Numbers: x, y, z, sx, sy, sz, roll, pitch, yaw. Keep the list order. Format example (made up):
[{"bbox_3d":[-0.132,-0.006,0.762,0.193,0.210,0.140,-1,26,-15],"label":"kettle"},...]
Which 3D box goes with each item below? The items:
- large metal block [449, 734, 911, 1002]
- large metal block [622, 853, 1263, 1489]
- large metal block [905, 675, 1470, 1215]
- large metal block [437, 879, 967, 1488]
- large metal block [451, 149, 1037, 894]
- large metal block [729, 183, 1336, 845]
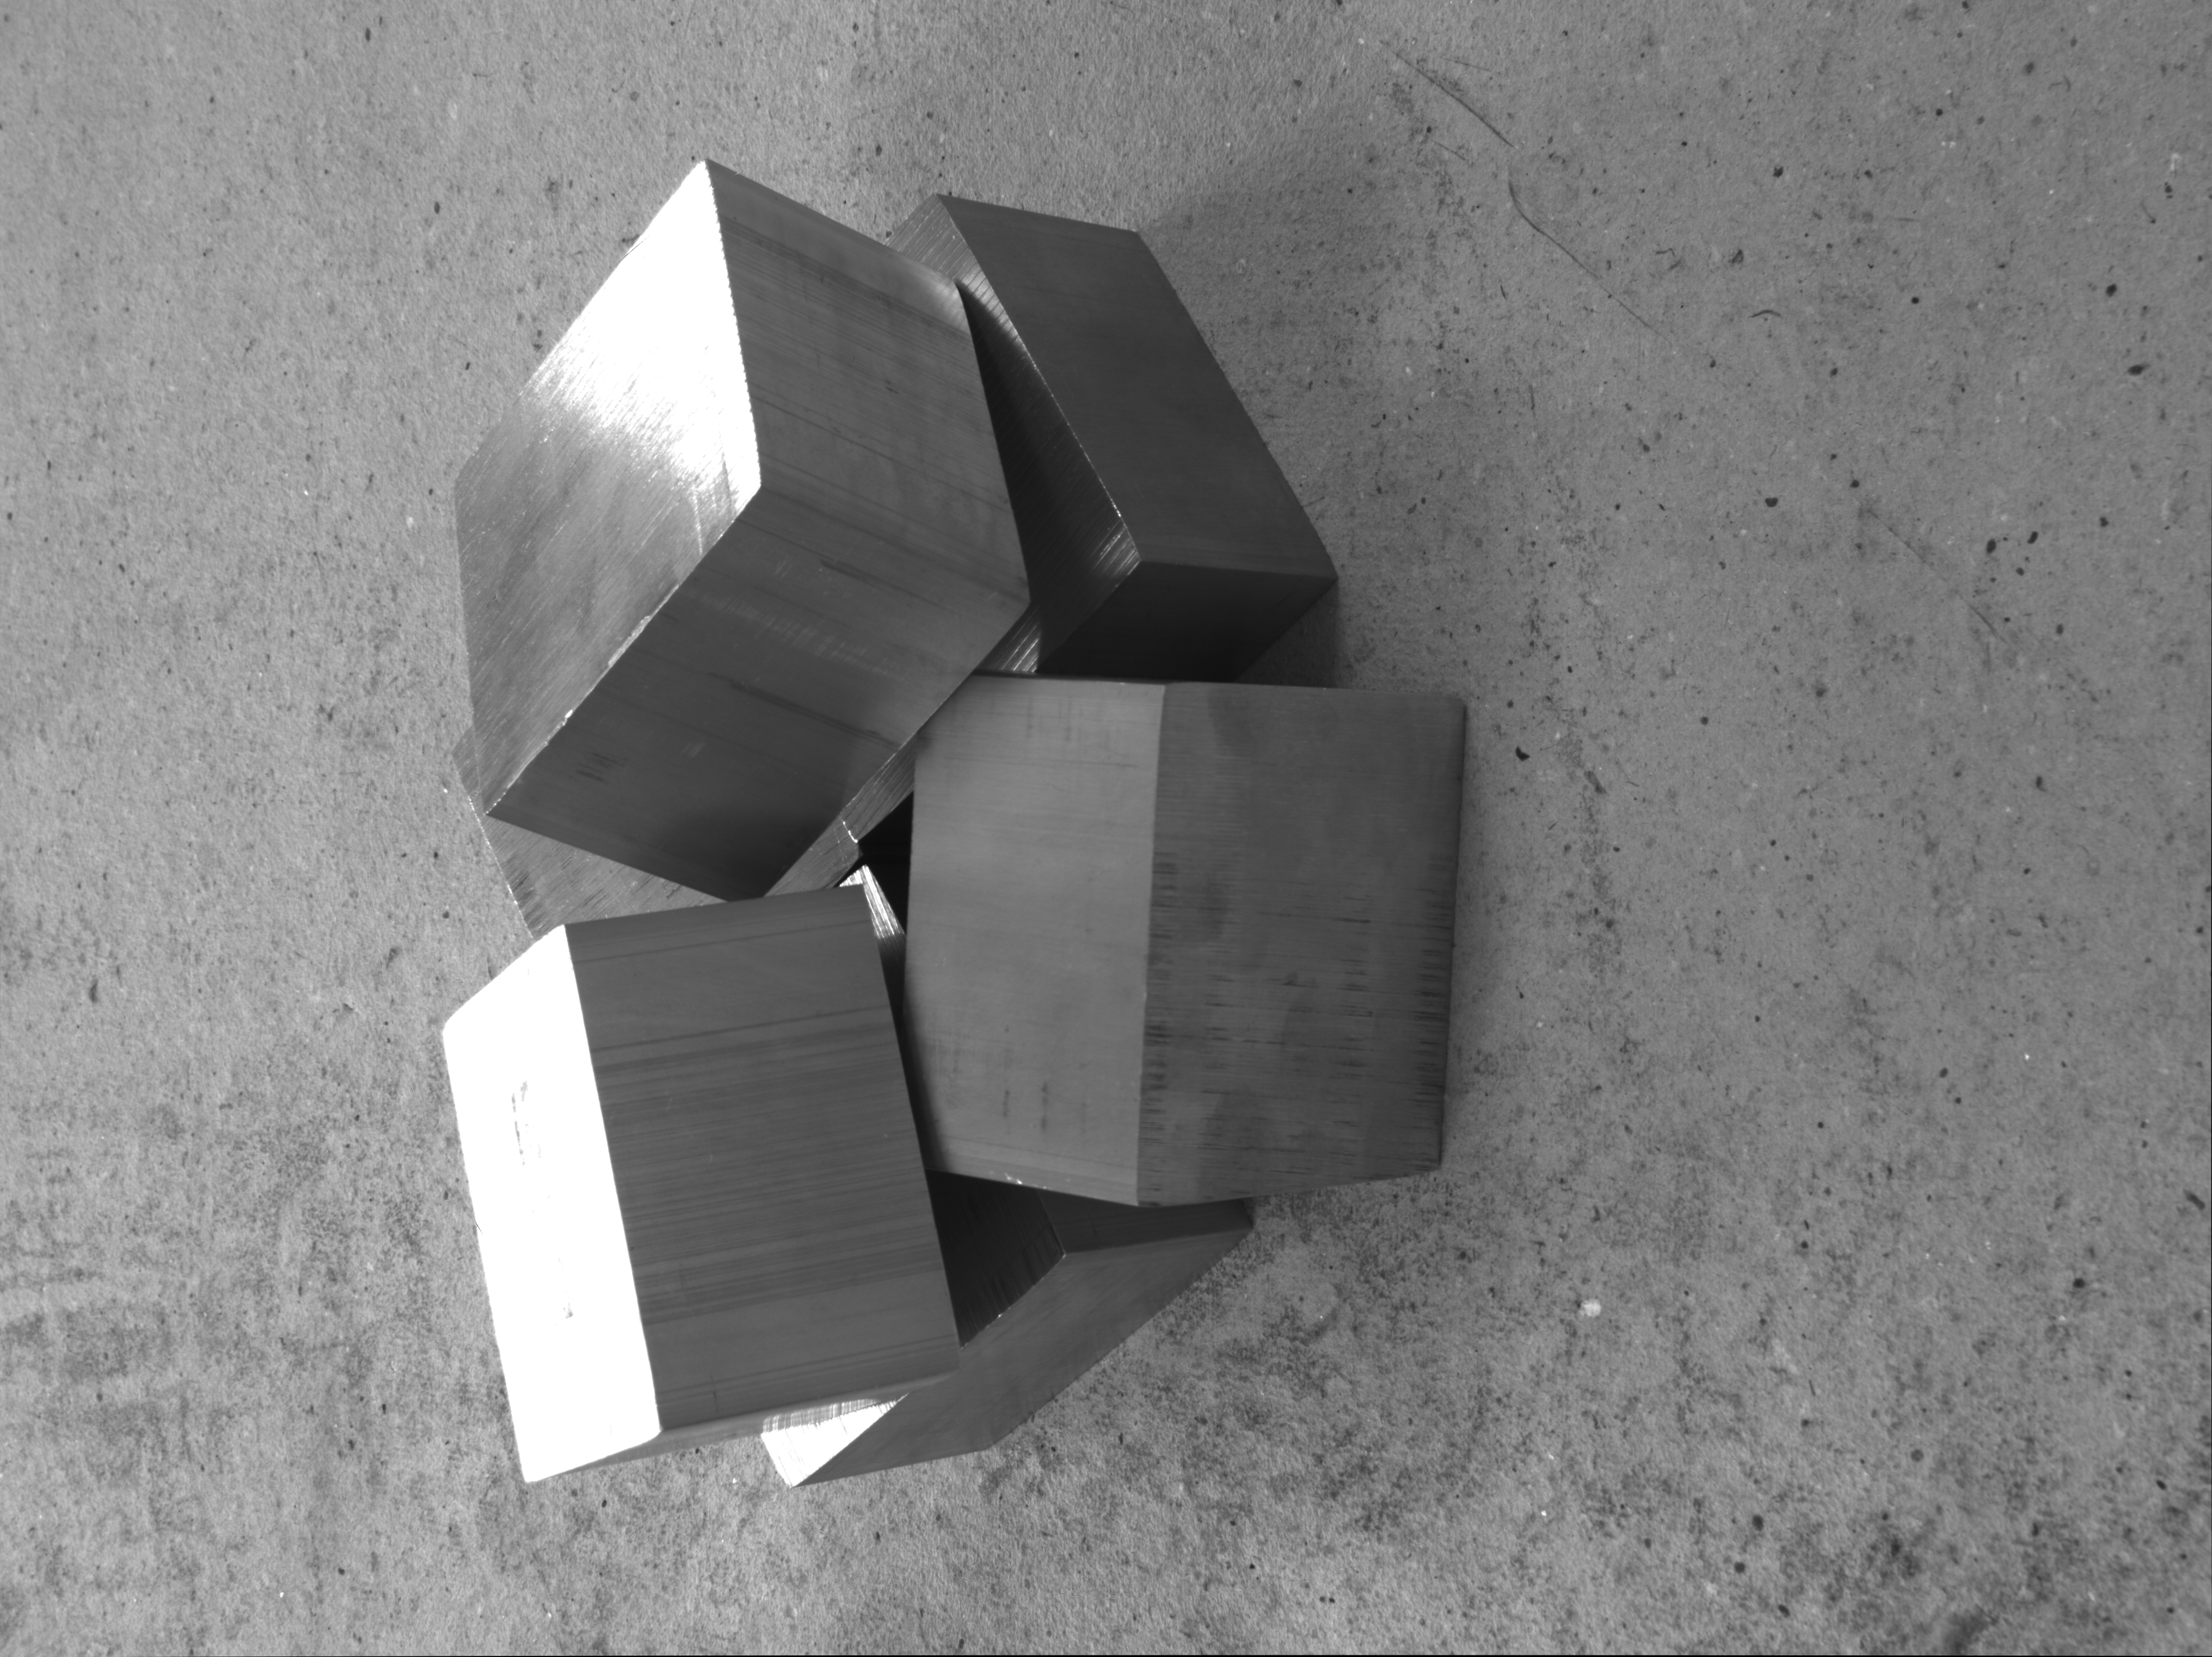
[{"bbox_3d":[-0.067,-0.005,0.686,0.080,0.050,0.080,-43,64,31],"label":"large metal block"},{"bbox_3d":[-0.031,0.060,0.657,0.080,0.050,0.080,-43,64,31],"label":"large metal block"},{"bbox_3d":[0.014,0.017,0.598,0.050,0.080,0.080,5,93,40],"label":"large metal block"},{"bbox_3d":[-0.069,0.060,0.602,0.080,0.050,0.080,-32,68,62],"label":"large metal block"},{"bbox_3d":[-0.061,-0.047,0.594,0.080,0.050,0.080,-45,40,30],"label":"large metal block"},{"bbox_3d":[-0.019,-0.053,0.643,0.080,0.050,0.080,-43,64,31],"label":"large metal block"}]
